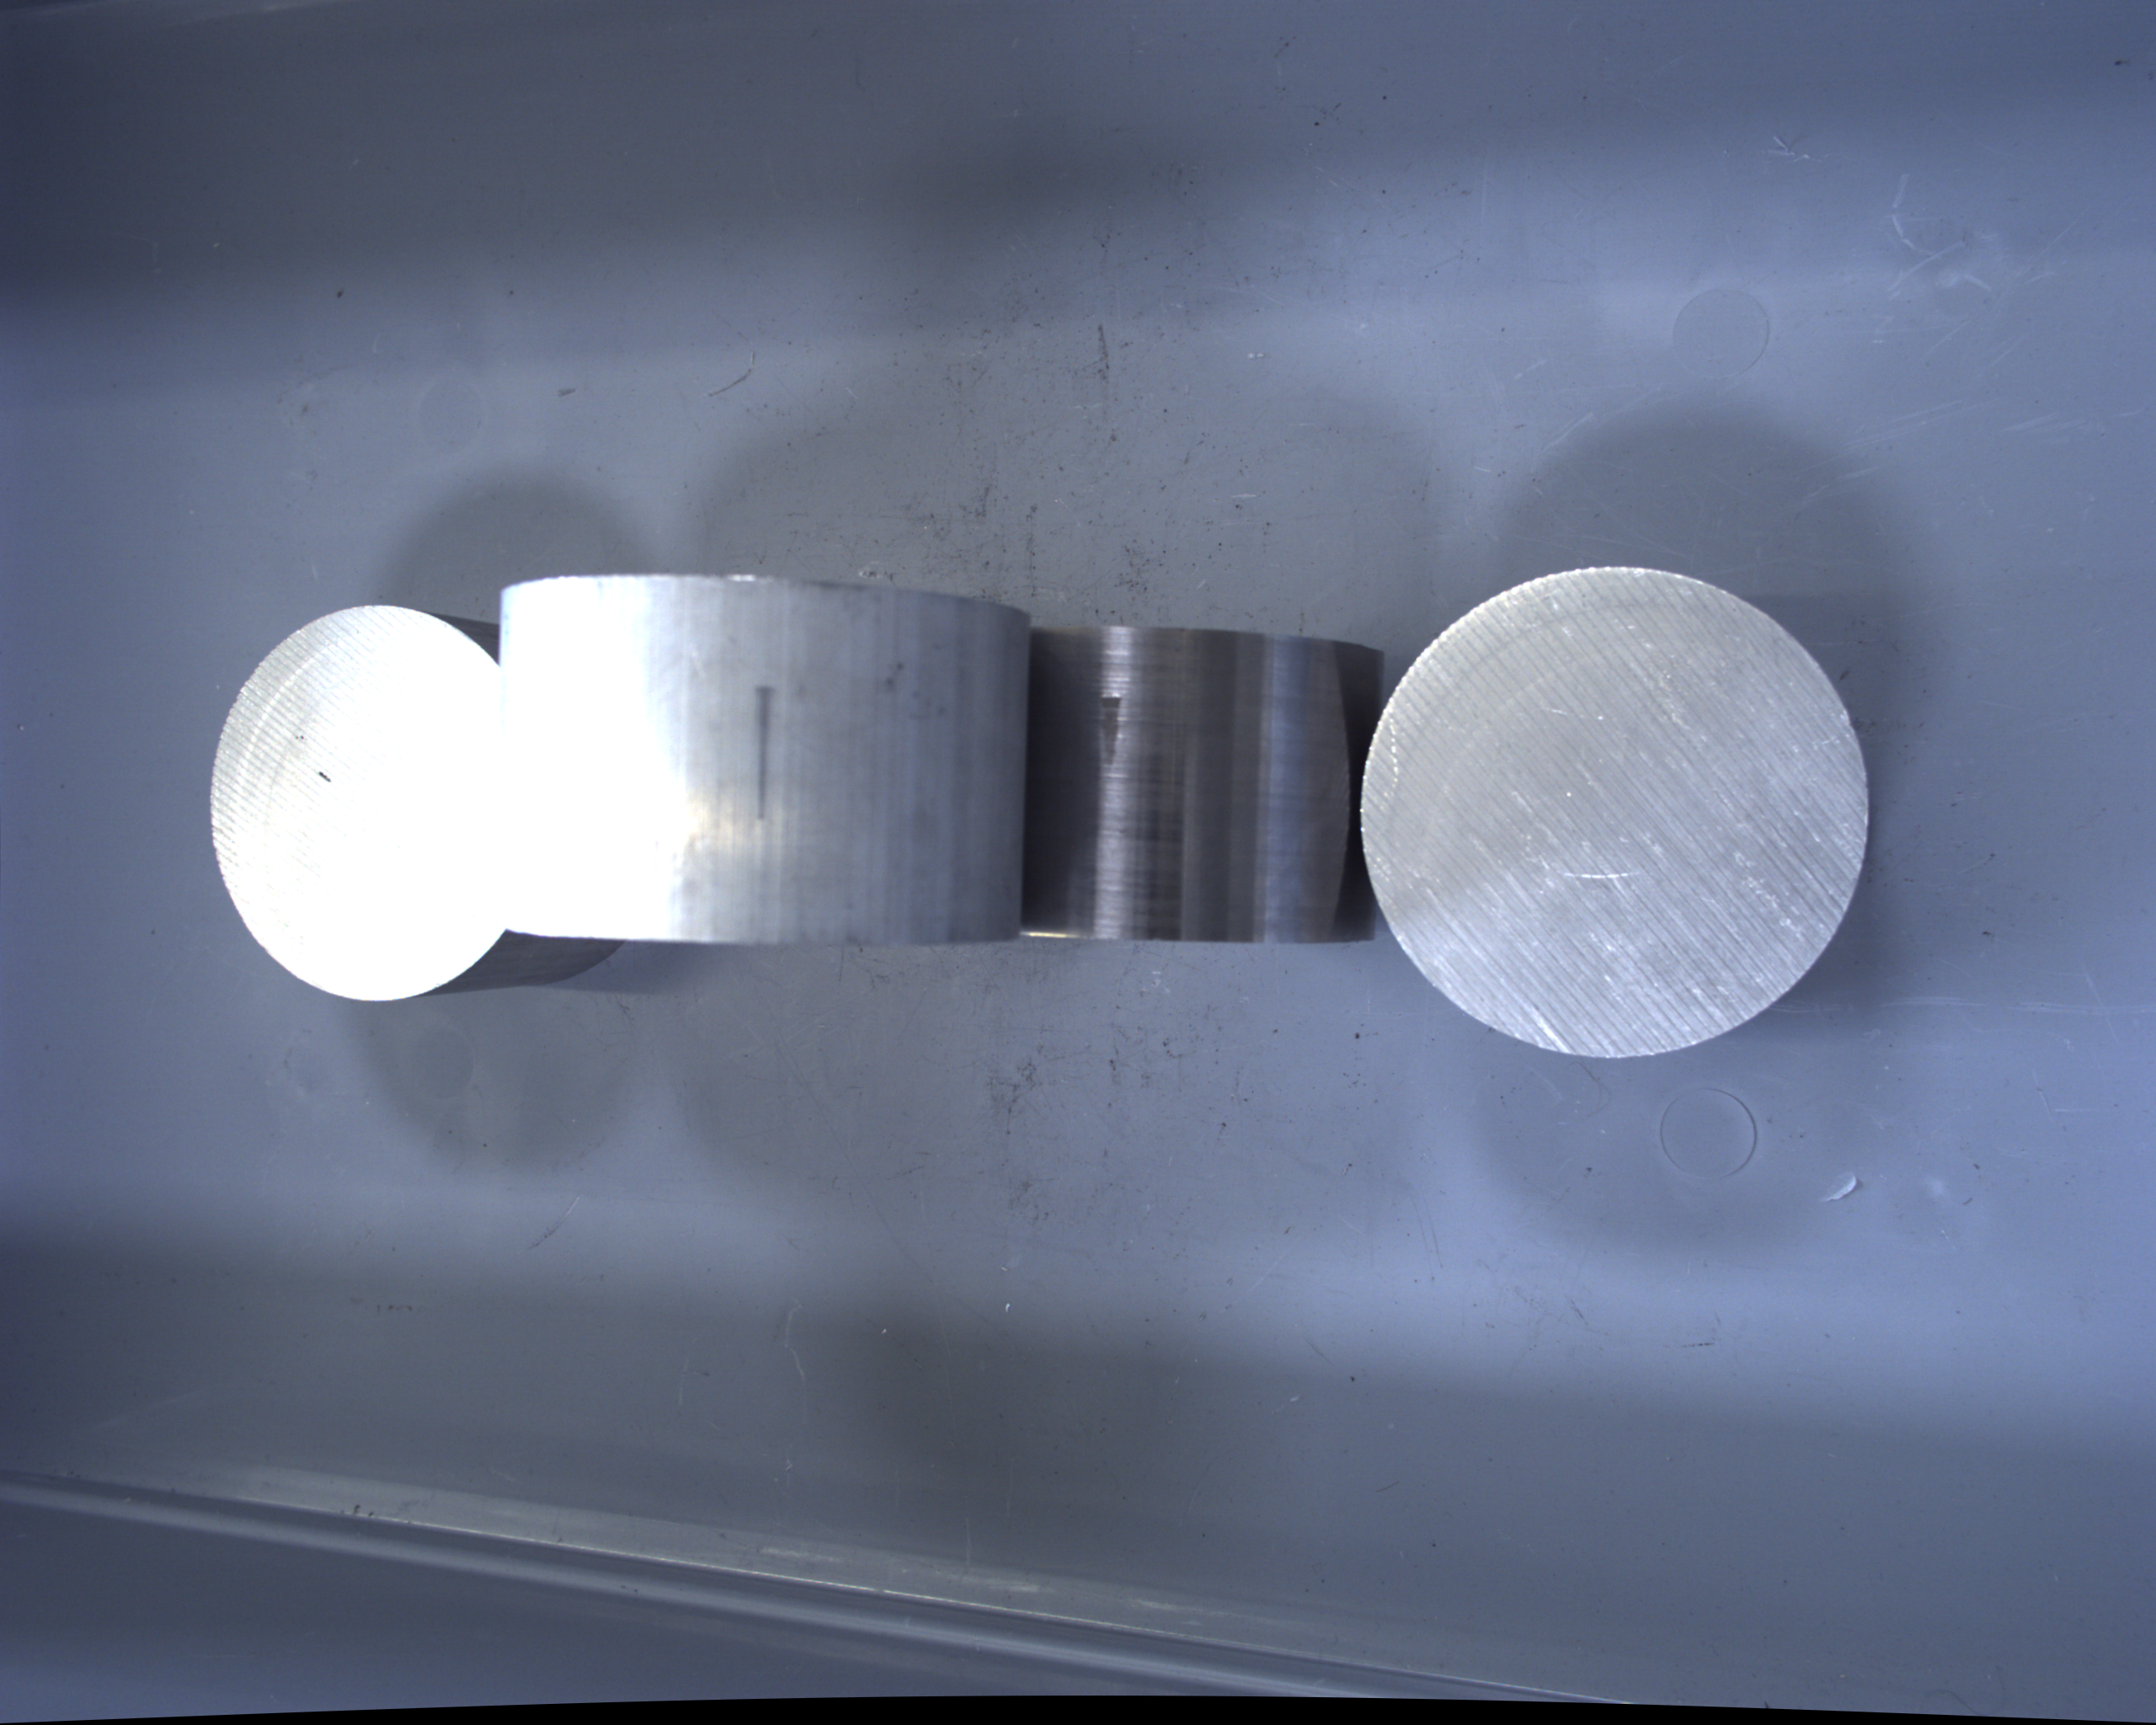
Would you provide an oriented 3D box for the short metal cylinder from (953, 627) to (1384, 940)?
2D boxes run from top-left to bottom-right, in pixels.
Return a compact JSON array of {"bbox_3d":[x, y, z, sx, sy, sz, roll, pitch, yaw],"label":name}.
[{"bbox_3d":[0.014,-0.013,0.374,0.080,0.080,0.050,2,91,20],"label":"short metal cylinder"}]

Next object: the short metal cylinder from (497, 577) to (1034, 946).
[{"bbox_3d":[-0.048,-0.014,0.323,0.080,0.080,0.050,2,91,20],"label":"short metal cylinder"}]

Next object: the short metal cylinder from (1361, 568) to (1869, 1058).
[{"bbox_3d":[0.094,-0.008,0.362,0.080,0.050,0.080,0,90,20],"label":"short metal cylinder"}]

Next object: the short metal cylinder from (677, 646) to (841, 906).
[{"bbox_3d":[-0.062,-0.016,0.401,0.080,0.080,0.050,2,91,20],"label":"short metal cylinder"}]

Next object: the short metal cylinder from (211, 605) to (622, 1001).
[{"bbox_3d":[-0.133,-0.012,0.442,0.080,0.050,0.080,0,90,20],"label":"short metal cylinder"}]
